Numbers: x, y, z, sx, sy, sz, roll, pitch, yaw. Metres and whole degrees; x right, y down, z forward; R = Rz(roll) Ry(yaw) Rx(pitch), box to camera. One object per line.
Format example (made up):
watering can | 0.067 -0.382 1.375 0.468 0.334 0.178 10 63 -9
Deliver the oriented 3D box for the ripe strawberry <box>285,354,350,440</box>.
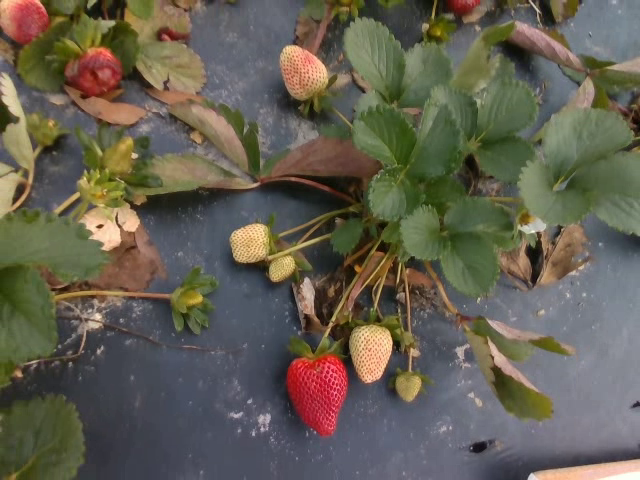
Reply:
ripe strawberry | 0.000 0.101 0.420 0.050 0.059 0.034 -7 -28 -17
